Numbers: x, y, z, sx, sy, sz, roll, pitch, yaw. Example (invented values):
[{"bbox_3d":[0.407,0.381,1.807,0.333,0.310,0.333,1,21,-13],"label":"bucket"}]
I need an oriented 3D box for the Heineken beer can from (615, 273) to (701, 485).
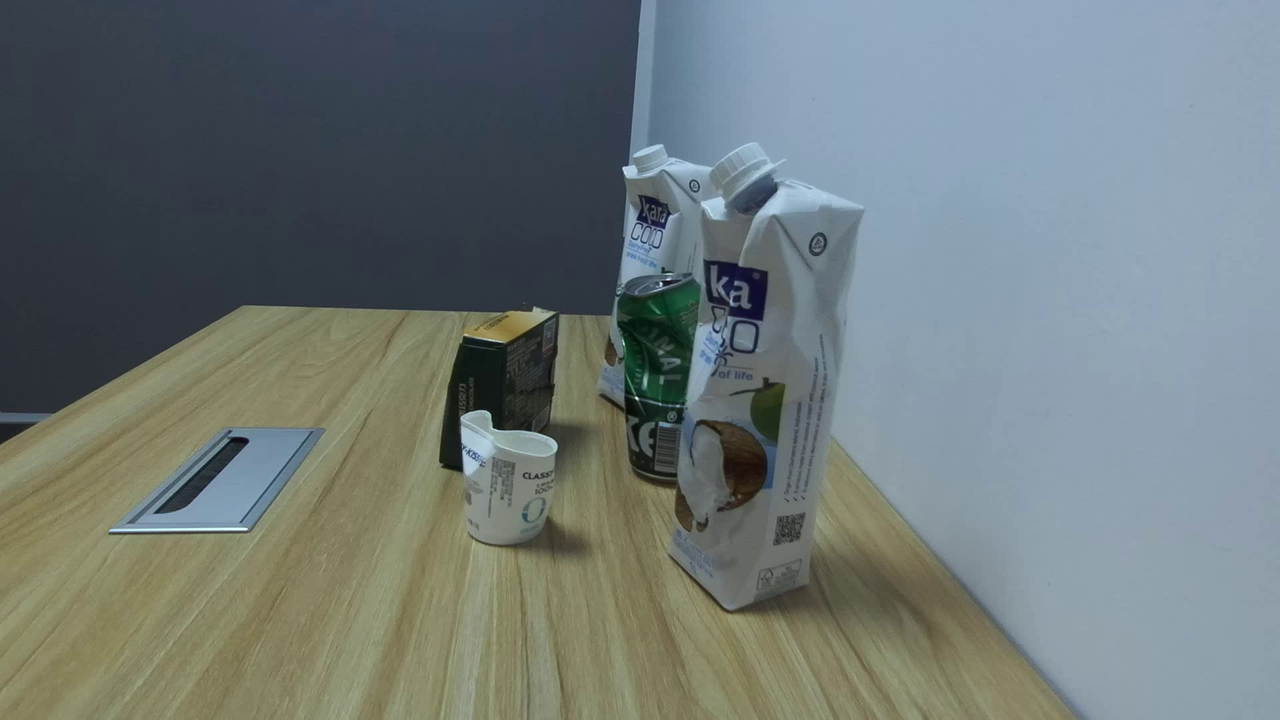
[{"bbox_3d":[0.025,0.015,0.552,0.079,0.159,0.067,-6,13,-4],"label":"Heineken beer can"}]

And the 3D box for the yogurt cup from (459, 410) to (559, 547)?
[{"bbox_3d":[-0.087,0.077,0.465,0.075,0.071,0.054,9,20,15],"label":"yogurt cup"}]

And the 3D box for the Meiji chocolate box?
[{"bbox_3d":[-0.113,0.019,0.574,0.058,0.110,0.113,11,20,12],"label":"Meiji chocolate box"}]

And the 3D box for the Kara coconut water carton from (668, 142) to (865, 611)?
[{"bbox_3d":[0.066,0.011,0.399,0.078,0.255,0.083,-4,21,-16],"label":"Kara coconut water carton"}]
